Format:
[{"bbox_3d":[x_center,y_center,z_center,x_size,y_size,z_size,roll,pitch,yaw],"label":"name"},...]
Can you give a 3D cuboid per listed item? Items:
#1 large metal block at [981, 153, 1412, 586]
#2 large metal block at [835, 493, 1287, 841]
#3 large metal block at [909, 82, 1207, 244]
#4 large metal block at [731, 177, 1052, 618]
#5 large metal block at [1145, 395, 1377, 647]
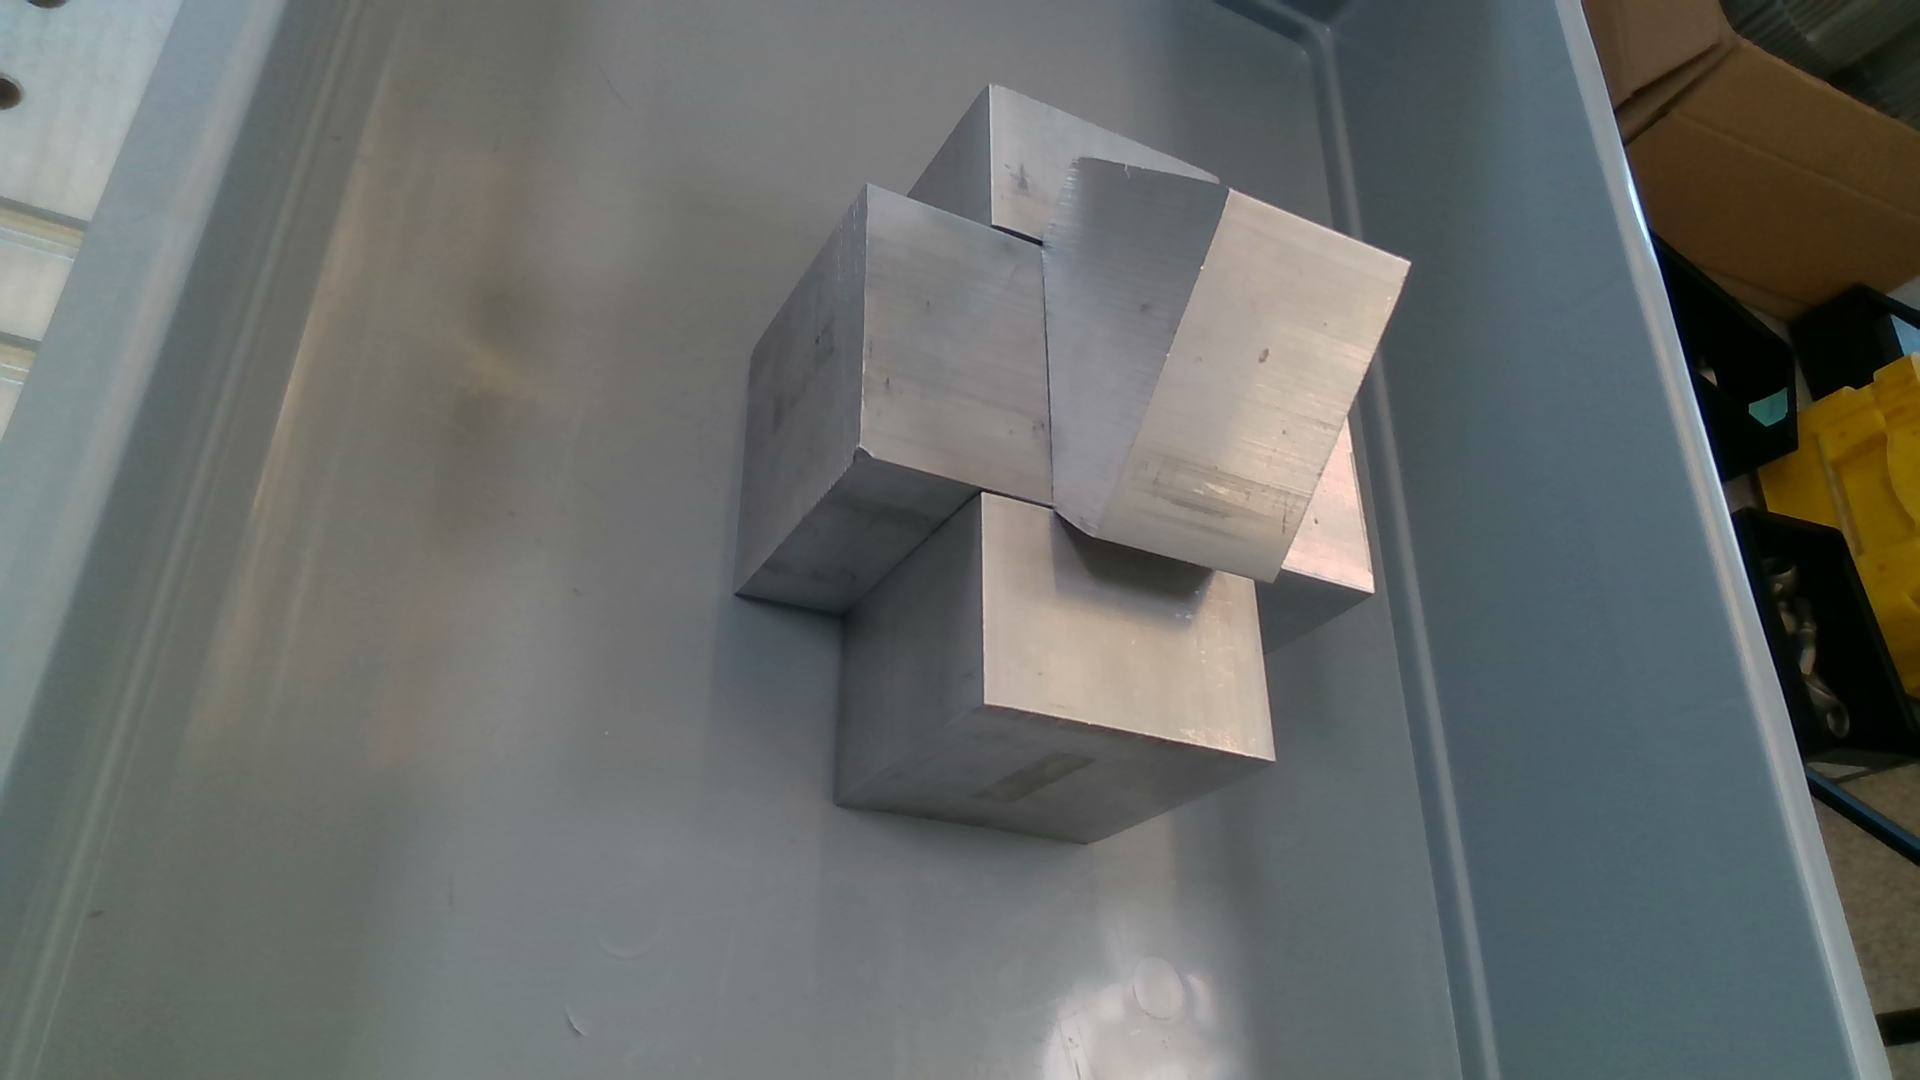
[{"bbox_3d":[0.052,-0.044,0.339,0.050,0.080,0.080,14,104,-25],"label":"large metal block"},{"bbox_3d":[0.022,0.037,0.348,0.080,0.080,0.050,14,59,-25],"label":"large metal block"},{"bbox_3d":[0.024,-0.078,0.414,0.080,0.080,0.050,14,59,-25],"label":"large metal block"},{"bbox_3d":[-0.020,-0.032,0.362,0.050,0.080,0.080,14,59,-25],"label":"large metal block"},{"bbox_3d":[0.069,-0.009,0.405,0.050,0.080,0.080,14,59,-25],"label":"large metal block"}]
